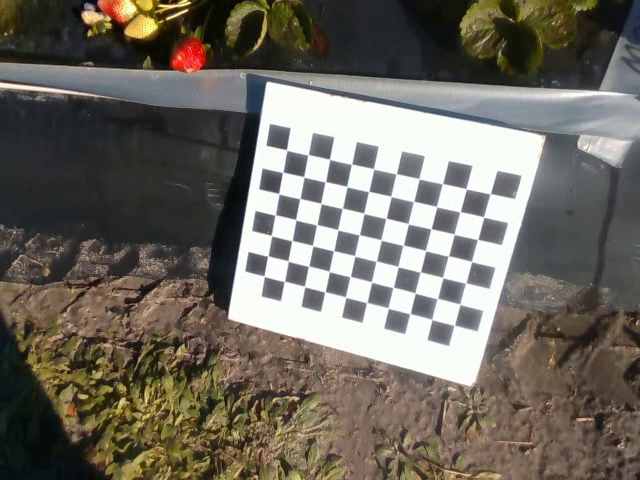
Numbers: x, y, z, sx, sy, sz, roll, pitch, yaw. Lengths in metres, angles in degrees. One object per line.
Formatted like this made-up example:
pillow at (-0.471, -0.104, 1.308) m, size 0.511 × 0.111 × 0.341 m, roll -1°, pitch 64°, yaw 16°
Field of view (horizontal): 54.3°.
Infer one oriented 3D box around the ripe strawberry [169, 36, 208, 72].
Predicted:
ripe strawberry at (-0.122, -0.161, 0.551) m, size 0.036 × 0.038 × 0.045 m, roll 12°, pitch 28°, yaw 14°
